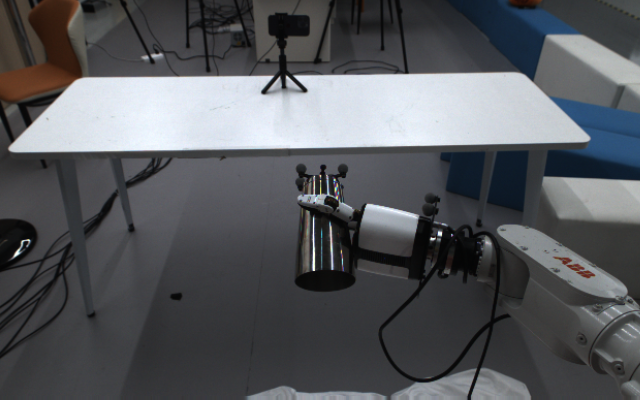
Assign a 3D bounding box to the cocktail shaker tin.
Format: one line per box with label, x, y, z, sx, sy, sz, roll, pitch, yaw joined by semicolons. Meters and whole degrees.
cocktail shaker tin;0.004;0.047;0.758;0.093;0.093;0.170;0;59;-3
